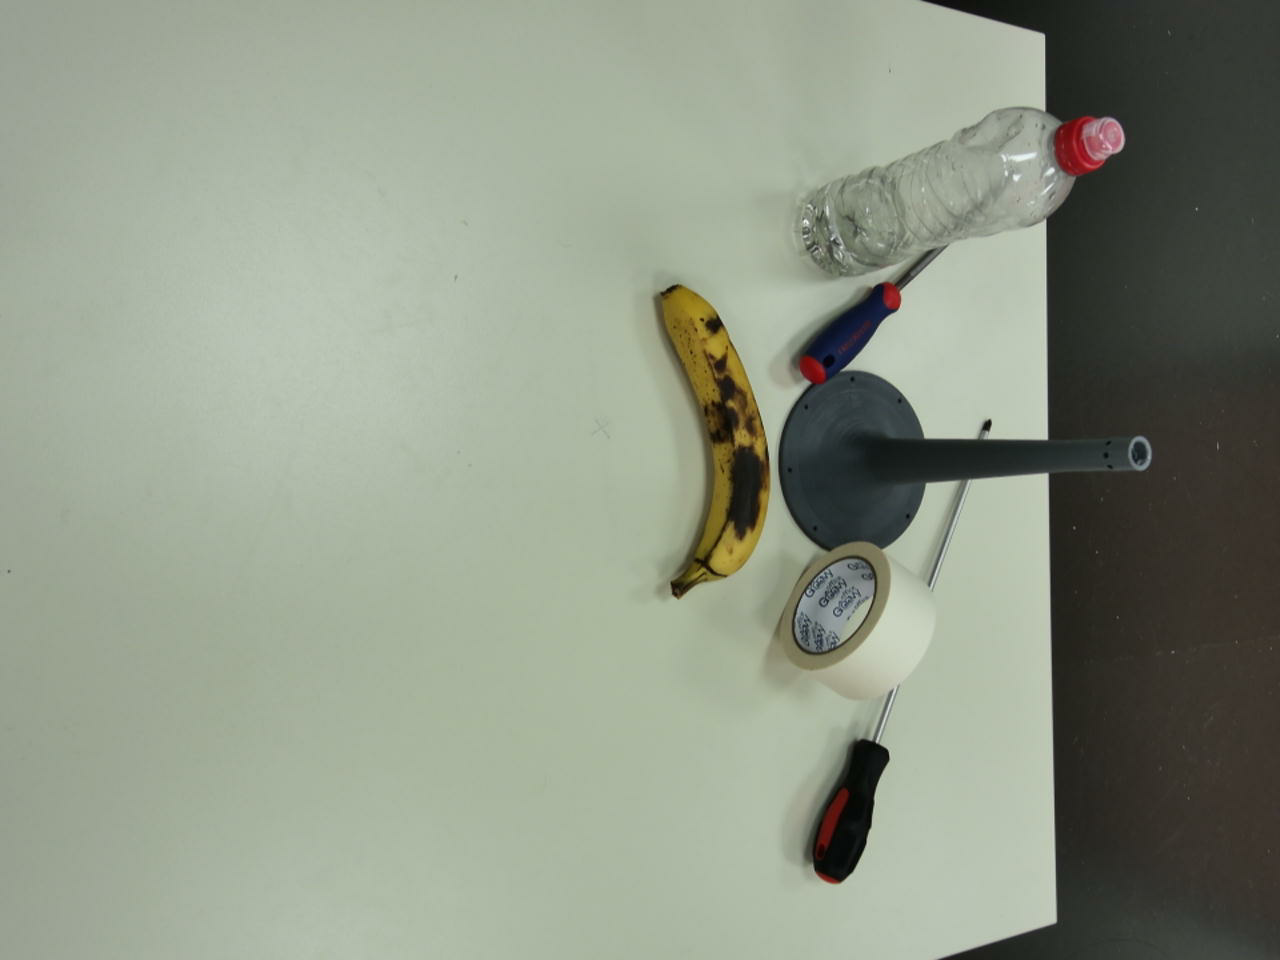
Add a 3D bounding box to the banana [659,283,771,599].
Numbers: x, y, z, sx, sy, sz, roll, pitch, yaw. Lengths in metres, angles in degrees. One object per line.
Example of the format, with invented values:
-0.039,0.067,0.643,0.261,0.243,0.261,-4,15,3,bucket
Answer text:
0.056,-0.028,0.719,0.084,0.038,0.222,0,90,-28,banana
